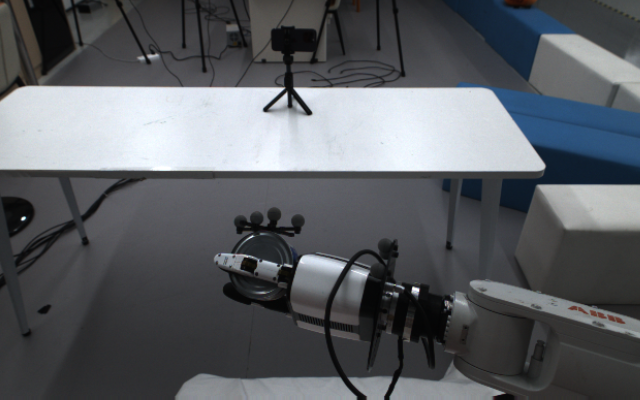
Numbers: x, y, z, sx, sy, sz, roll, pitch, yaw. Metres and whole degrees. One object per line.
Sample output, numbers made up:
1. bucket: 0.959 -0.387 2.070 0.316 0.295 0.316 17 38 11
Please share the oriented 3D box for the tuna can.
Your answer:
1. tuna can: -0.069 0.084 0.612 0.085 0.034 0.085 -5 72 14
